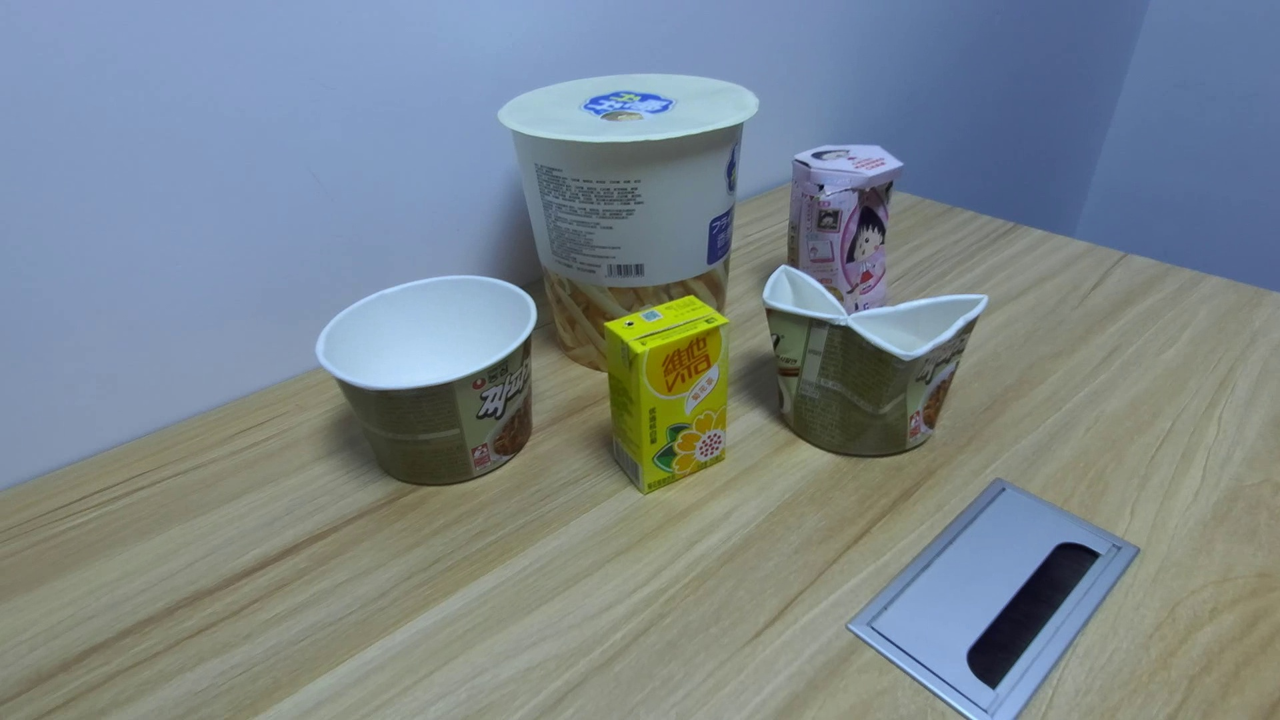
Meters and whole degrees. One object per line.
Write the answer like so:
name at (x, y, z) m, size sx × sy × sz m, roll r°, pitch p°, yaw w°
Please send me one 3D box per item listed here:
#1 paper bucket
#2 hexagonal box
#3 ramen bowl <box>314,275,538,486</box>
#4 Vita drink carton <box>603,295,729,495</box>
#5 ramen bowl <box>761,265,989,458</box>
paper bucket at (-0.003, -0.107, 0.567) m, size 0.198 × 0.195 × 0.198 m, roll -2°, pitch 34°, yaw 2°
hexagonal box at (0.170, -0.109, 0.612) m, size 0.091 × 0.135 × 0.090 m, roll -2°, pitch 31°, yaw 3°
ramen bowl at (-0.136, 0.016, 0.489) m, size 0.140 × 0.095 × 0.140 m, roll -2°, pitch 33°, yaw 1°
Vita drink carton at (0.018, 0.022, 0.446) m, size 0.067 × 0.109 × 0.043 m, roll -20°, pitch 37°, yaw -24°
ramen bowl at (0.149, -0.006, 0.489) m, size 0.127 × 0.093 × 0.112 m, roll 26°, pitch 44°, yaw 36°
